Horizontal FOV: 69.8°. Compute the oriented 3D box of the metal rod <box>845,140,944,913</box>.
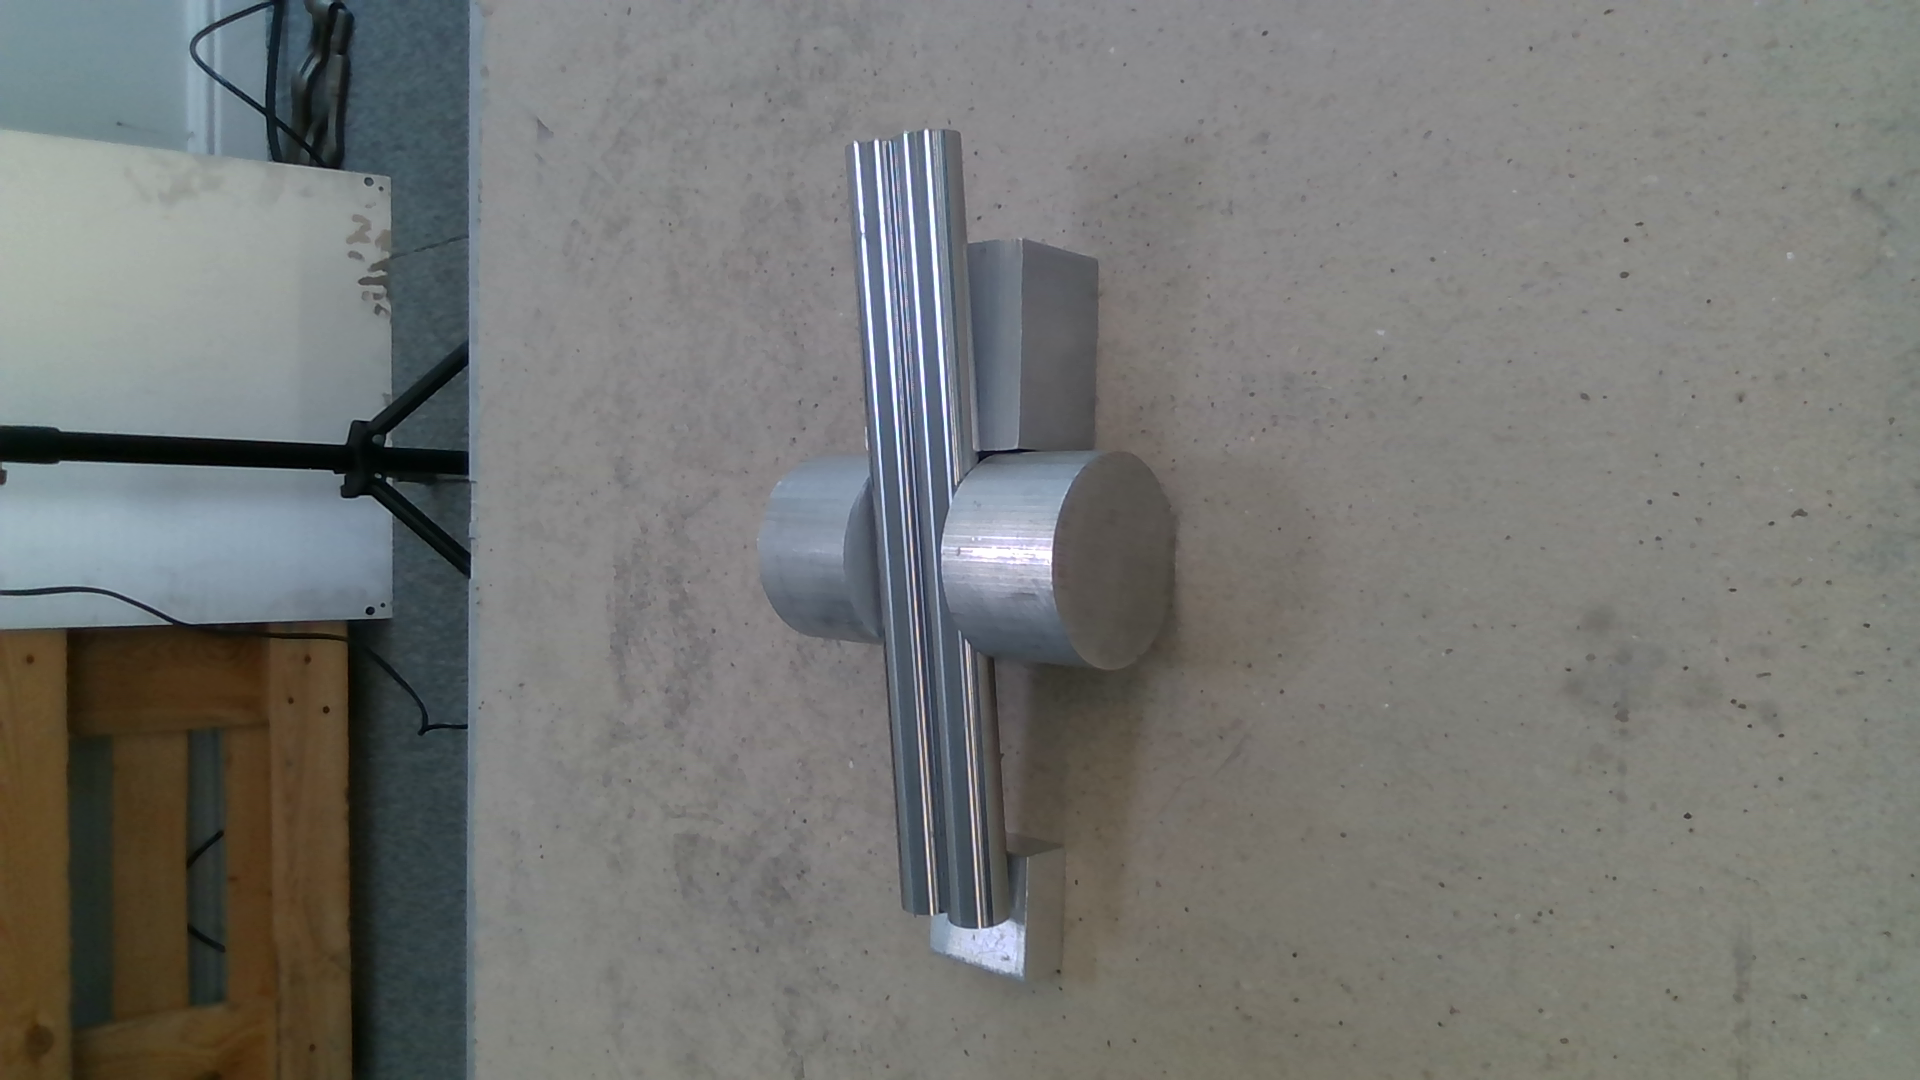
[{"bbox_3d":[-0.021,-0.001,0.542,0.025,0.025,0.300,3,100,40],"label":"metal rod"}]

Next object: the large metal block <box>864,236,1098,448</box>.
[{"bbox_3d":[0.008,-0.075,0.559,0.080,0.050,0.080,2,92,40],"label":"large metal block"}]

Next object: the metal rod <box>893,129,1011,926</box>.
[{"bbox_3d":[-0.002,-0.001,0.526,0.025,0.025,0.300,3,100,40],"label":"metal rod"}]

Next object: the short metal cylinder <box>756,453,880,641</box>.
[{"bbox_3d":[-0.039,0.002,0.580,0.050,0.080,0.080,2,92,40],"label":"short metal cylinder"}]

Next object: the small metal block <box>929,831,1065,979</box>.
[{"bbox_3d":[0.015,0.148,0.572,0.050,0.025,0.050,4,93,40],"label":"small metal block"}]

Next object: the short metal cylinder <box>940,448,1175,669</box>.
[{"bbox_3d":[0.038,0.006,0.515,0.050,0.080,0.080,2,92,40],"label":"short metal cylinder"}]
